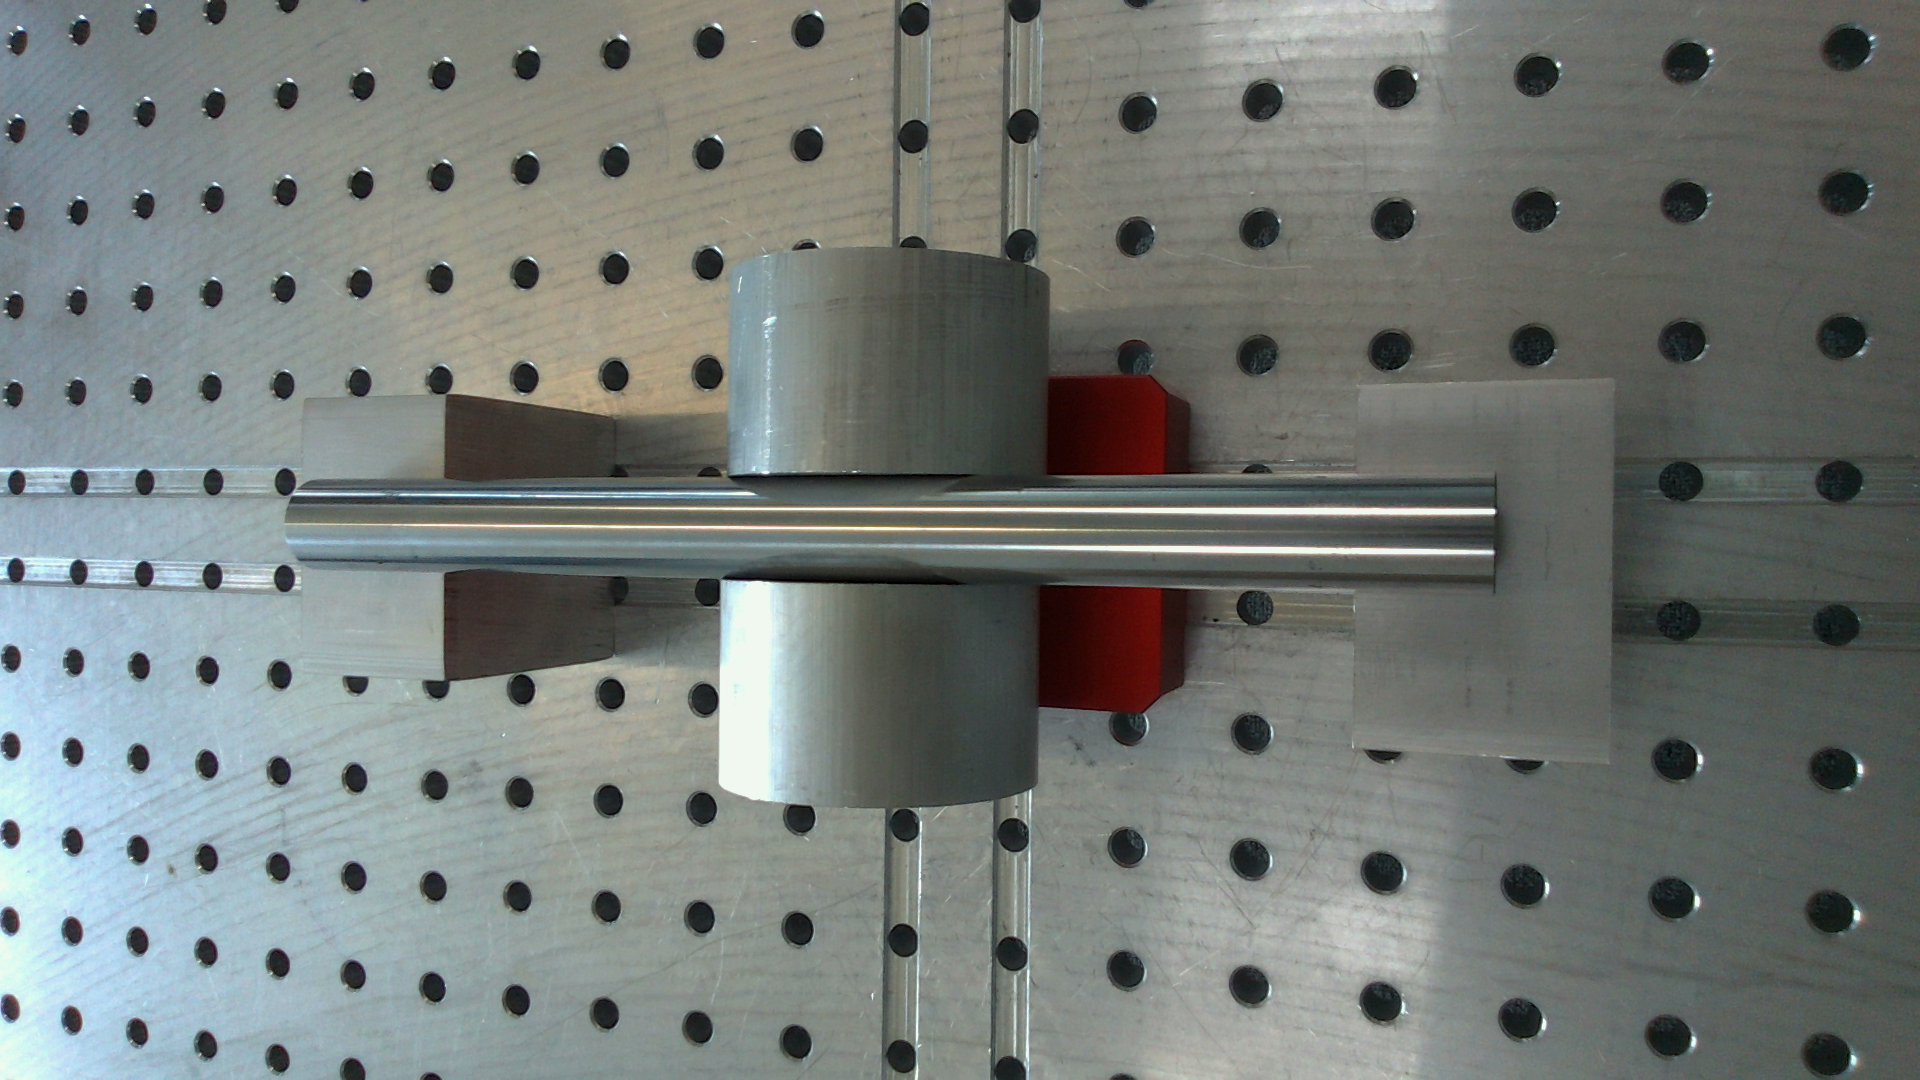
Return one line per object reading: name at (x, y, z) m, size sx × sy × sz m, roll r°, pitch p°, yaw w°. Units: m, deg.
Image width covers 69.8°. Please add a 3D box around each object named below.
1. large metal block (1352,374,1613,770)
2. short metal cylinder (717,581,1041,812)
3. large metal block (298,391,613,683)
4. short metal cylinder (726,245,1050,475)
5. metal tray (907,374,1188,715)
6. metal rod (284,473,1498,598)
large metal block at (0.122, 0.006, 0.324) m, size 0.050 × 0.080 × 0.080 m, roll 1°, pitch 90°, yaw 20°
short metal cylinder at (-0.020, 0.035, 0.345) m, size 0.080 × 0.080 × 0.050 m, roll 1°, pitch 90°, yaw 20°
large metal block at (-0.152, -0.001, 0.423) m, size 0.050 × 0.080 × 0.080 m, roll 1°, pitch 90°, yaw 20°
short metal cylinder at (-0.018, -0.040, 0.344) m, size 0.080 × 0.080 × 0.050 m, roll 1°, pitch 90°, yaw 20°
metal tray at (-0.002, 0.000, 0.396) m, size 0.130 × 0.030 × 0.090 m, roll 1°, pitch 91°, yaw 20°
metal rod at (-0.034, -0.002, 0.325) m, size 0.299 × 0.025 × 0.025 m, roll 1°, pitch 90°, yaw 20°
